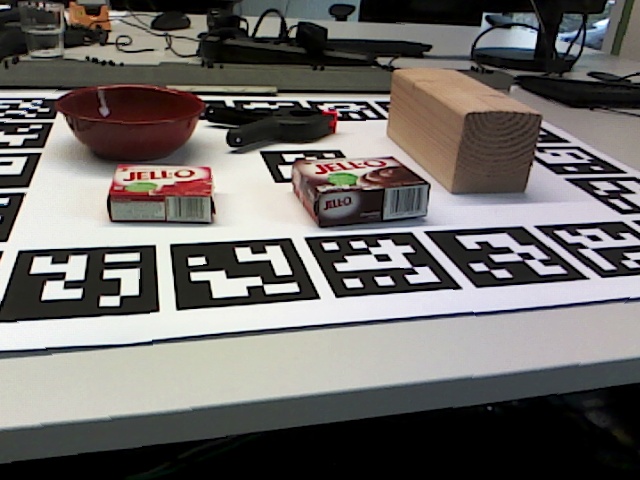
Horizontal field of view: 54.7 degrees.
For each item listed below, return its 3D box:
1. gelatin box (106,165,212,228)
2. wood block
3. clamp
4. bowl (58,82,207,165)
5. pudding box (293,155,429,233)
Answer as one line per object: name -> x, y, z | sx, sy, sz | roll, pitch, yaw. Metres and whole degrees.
gelatin box -> -0.147, -0.042, 0.574 | 0.089, 0.030, 0.073 | 1, 31, -7
wood block -> 0.164, -0.135, 0.731 | 0.089, 0.091, 0.207 | -1, 30, -13
clamp -> -0.067, -0.149, 0.789 | 0.164, 0.036, 0.122 | -7, 31, -25
bowl -> -0.212, -0.130, 0.709 | 0.161, 0.055, 0.162 | 5, 32, -4
pudding box -> 0.036, -0.047, 0.608 | 0.113, 0.038, 0.090 | -5, 35, -14
